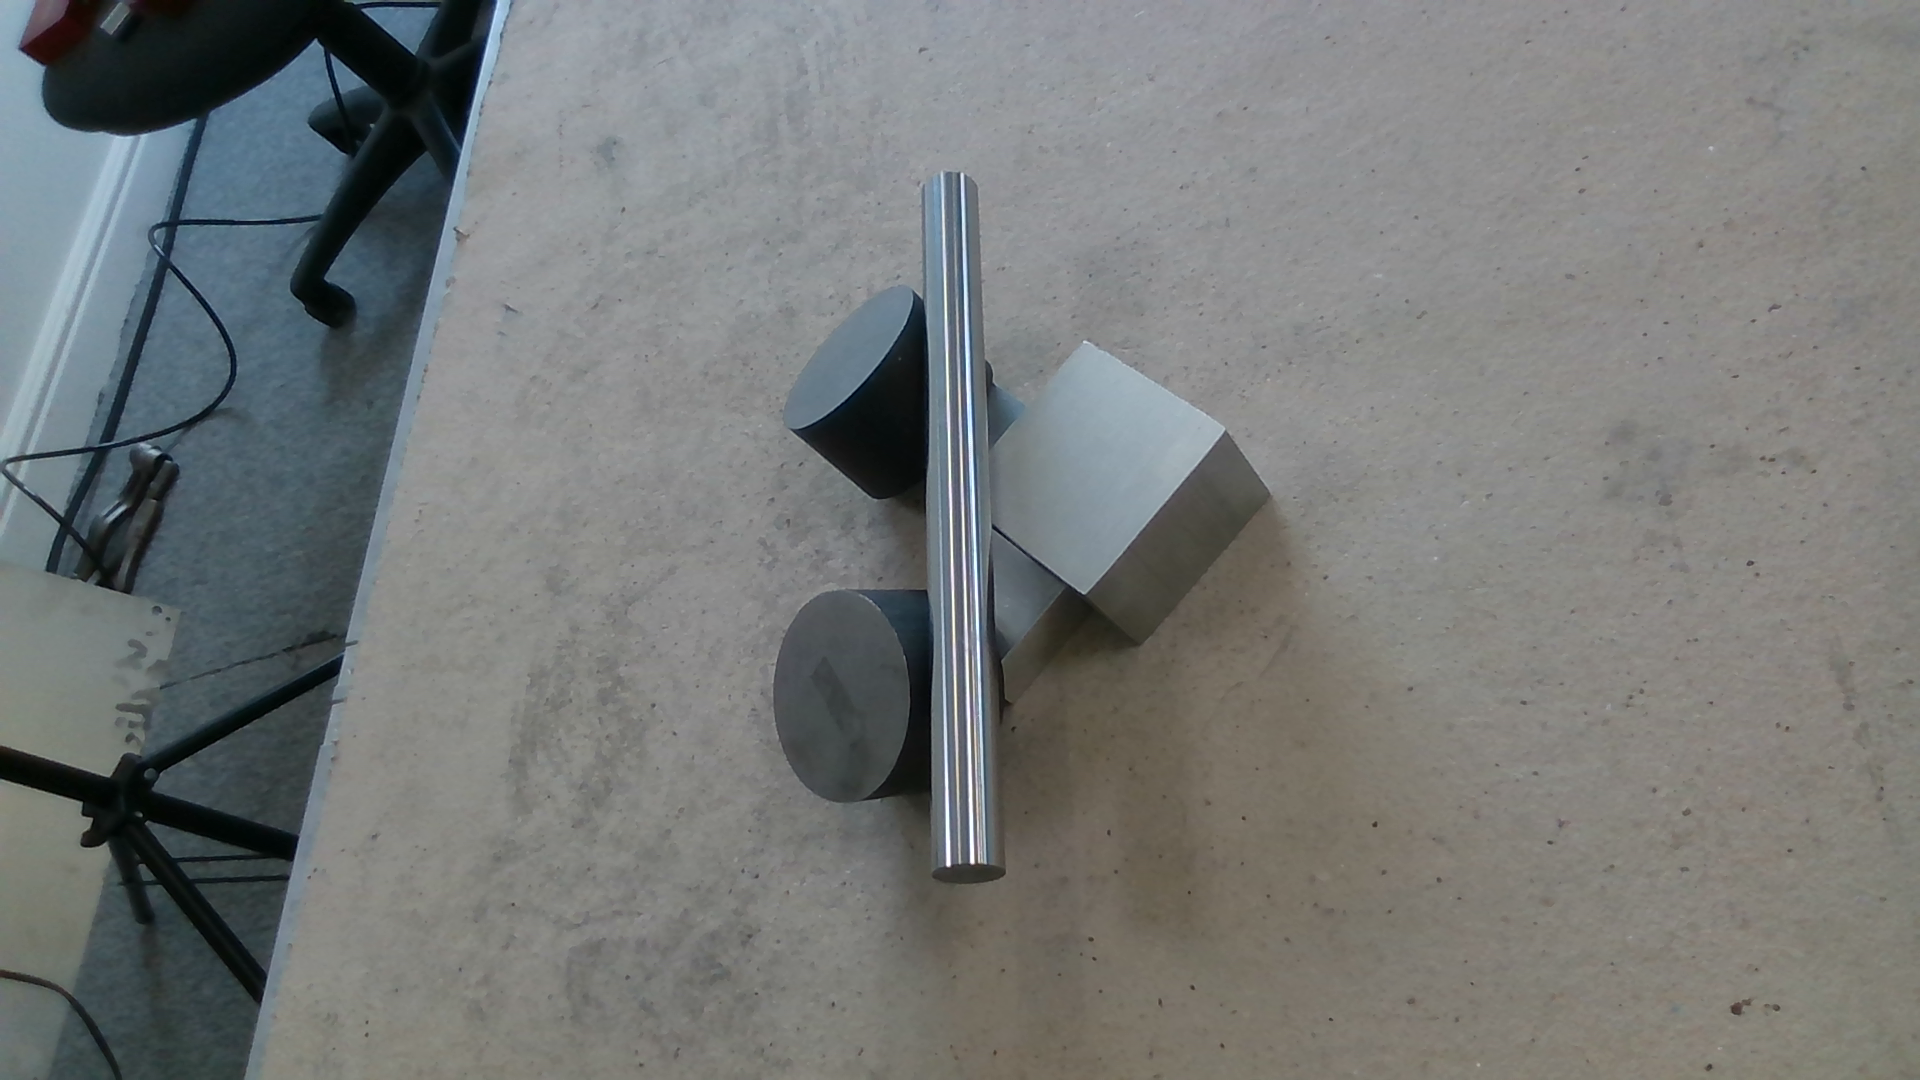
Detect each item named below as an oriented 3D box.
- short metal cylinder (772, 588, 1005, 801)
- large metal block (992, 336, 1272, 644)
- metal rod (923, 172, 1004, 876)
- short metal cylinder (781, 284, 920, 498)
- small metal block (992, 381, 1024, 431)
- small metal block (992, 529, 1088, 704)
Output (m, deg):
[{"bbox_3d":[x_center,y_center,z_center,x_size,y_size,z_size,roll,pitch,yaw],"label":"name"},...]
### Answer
[{"bbox_3d":[-0.029,0.059,0.538,0.080,0.050,0.080,-3,86,44],"label":"short metal cylinder"},{"bbox_3d":[0.060,-0.020,0.541,0.080,0.050,0.080,-49,51,0],"label":"large metal block"},{"bbox_3d":[-0.001,-0.021,0.531,0.025,0.025,0.299,-16,58,24],"label":"metal rod"},{"bbox_3d":[-0.033,-0.066,0.606,0.080,0.050,0.080,-37,29,24],"label":"short metal cylinder"},{"bbox_3d":[0.017,-0.034,0.594,0.050,0.025,0.050,-50,52,-1],"label":"small metal block"},{"bbox_3d":[0.016,0.030,0.560,0.050,0.025,0.050,-50,51,-1],"label":"small metal block"}]
